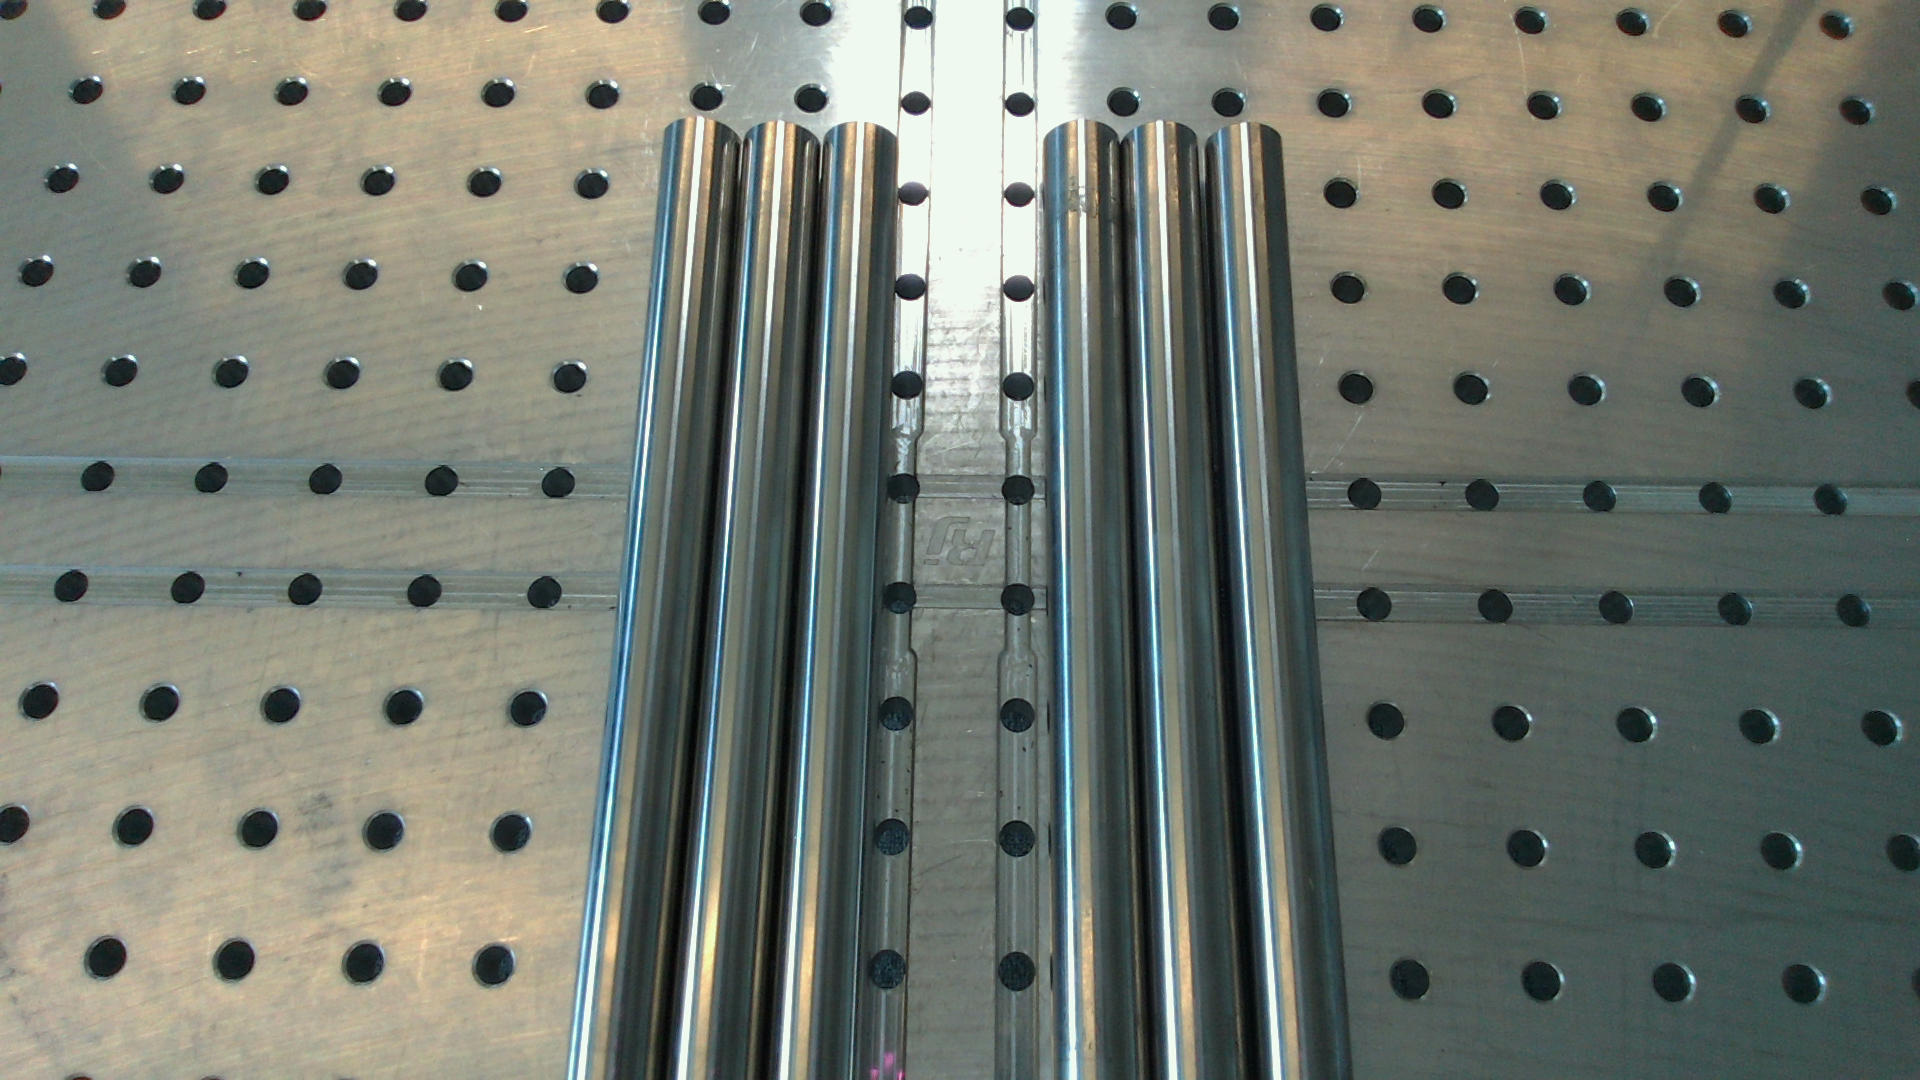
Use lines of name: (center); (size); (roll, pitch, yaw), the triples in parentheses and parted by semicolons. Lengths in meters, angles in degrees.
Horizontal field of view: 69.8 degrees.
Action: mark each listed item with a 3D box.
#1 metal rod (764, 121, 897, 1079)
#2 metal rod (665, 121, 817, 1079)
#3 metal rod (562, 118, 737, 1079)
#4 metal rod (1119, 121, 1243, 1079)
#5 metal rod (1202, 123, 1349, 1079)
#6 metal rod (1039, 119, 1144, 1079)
metal rod: (-0.035, 0.014, 0.391); (0.025, 0.025, 0.300); (1, 70, 0)
metal rod: (-0.060, 0.014, 0.391); (0.025, 0.025, 0.300); (1, 70, 0)
metal rod: (-0.086, 0.013, 0.392); (0.025, 0.025, 0.300); (1, 70, 0)
metal rod: (0.061, 0.014, 0.392); (0.025, 0.025, 0.300); (1, 70, 0)
metal rod: (0.087, 0.015, 0.391); (0.025, 0.025, 0.300); (1, 70, 0)
metal rod: (0.036, 0.013, 0.392); (0.025, 0.025, 0.300); (1, 70, 0)
